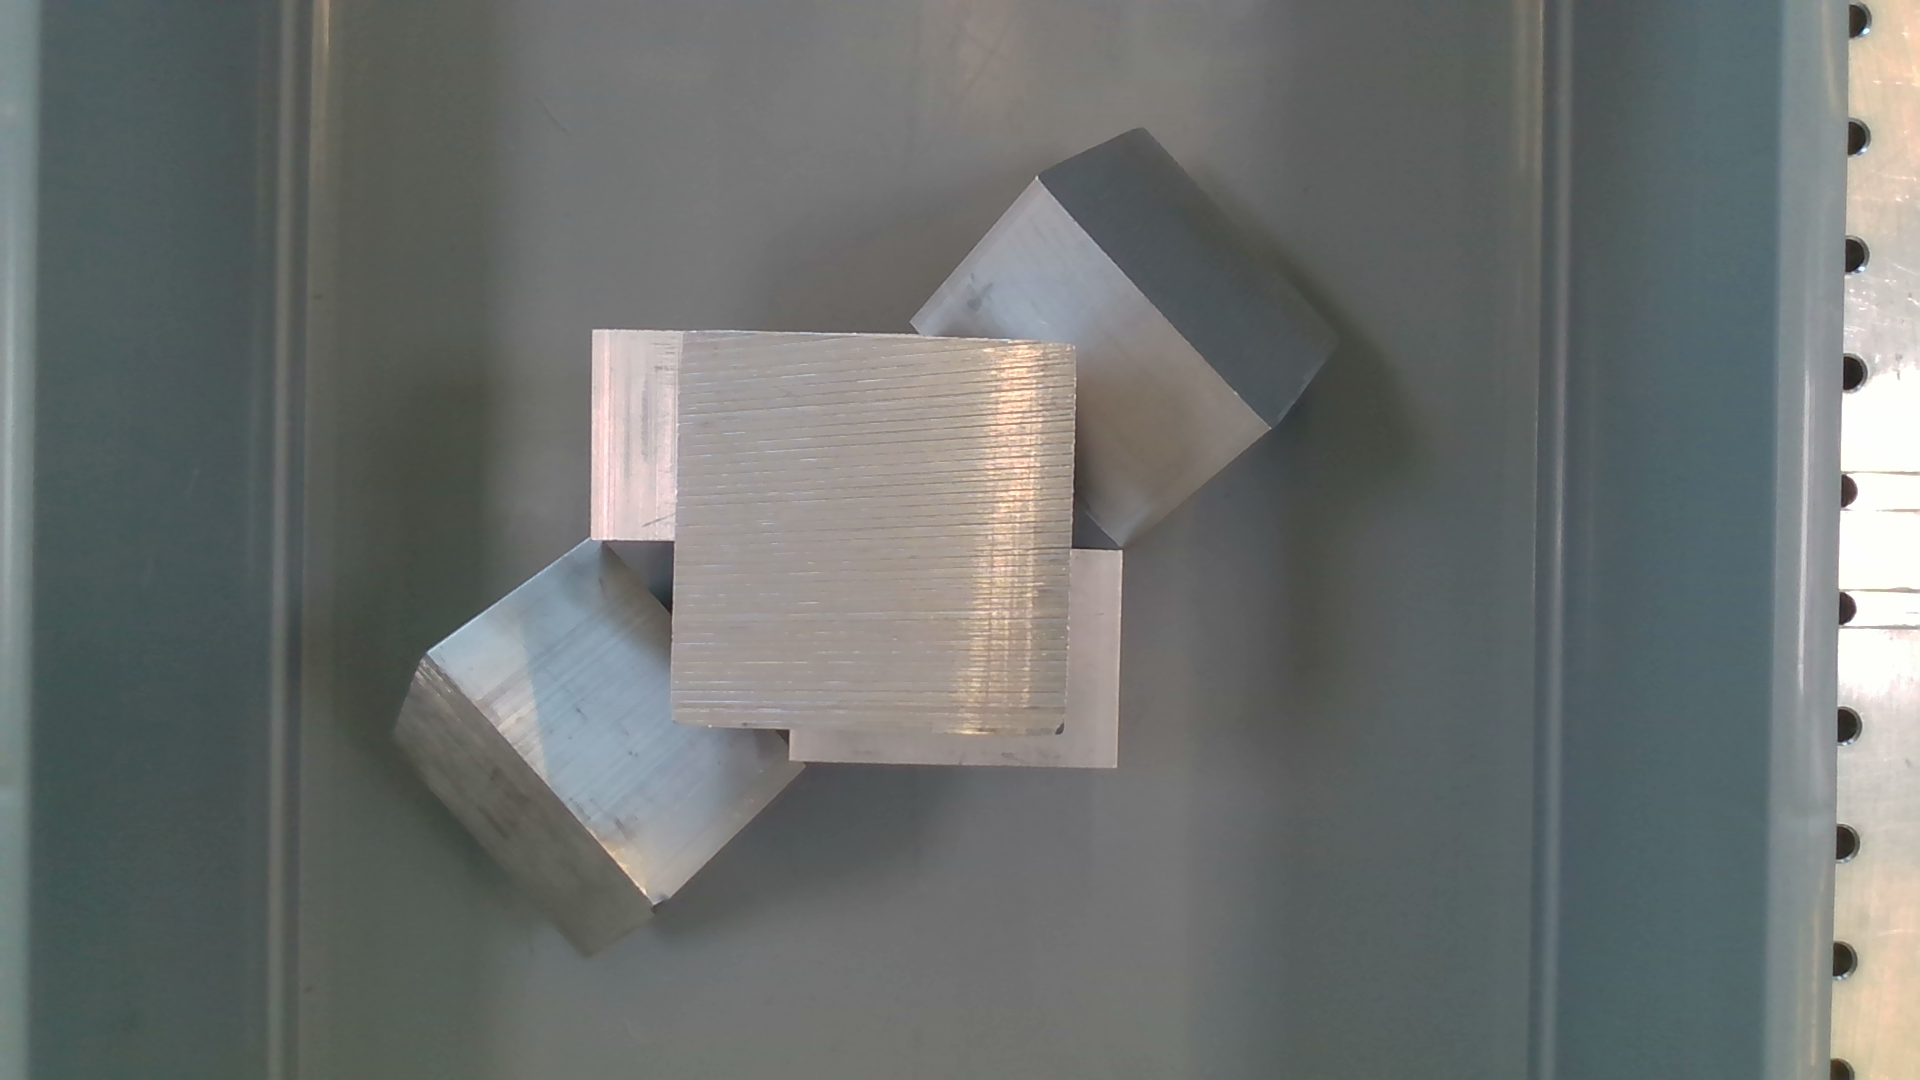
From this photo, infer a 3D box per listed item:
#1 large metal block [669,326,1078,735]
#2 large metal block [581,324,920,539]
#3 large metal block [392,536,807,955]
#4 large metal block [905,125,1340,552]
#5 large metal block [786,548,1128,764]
[{"bbox_3d":[-0.017,-0.002,0.301,0.080,0.050,0.080,2,90,0],"label":"large metal block"},{"bbox_3d":[-0.050,-0.026,0.367,0.080,0.080,0.050,1,90,0],"label":"large metal block"},{"bbox_3d":[-0.097,0.056,0.360,0.080,0.080,0.050,48,55,0],"label":"large metal block"},{"bbox_3d":[0.045,-0.056,0.359,0.080,0.080,0.050,47,125,0],"label":"large metal block"},{"bbox_3d":[-0.001,0.027,0.366,0.080,0.080,0.050,1,90,0],"label":"large metal block"}]
